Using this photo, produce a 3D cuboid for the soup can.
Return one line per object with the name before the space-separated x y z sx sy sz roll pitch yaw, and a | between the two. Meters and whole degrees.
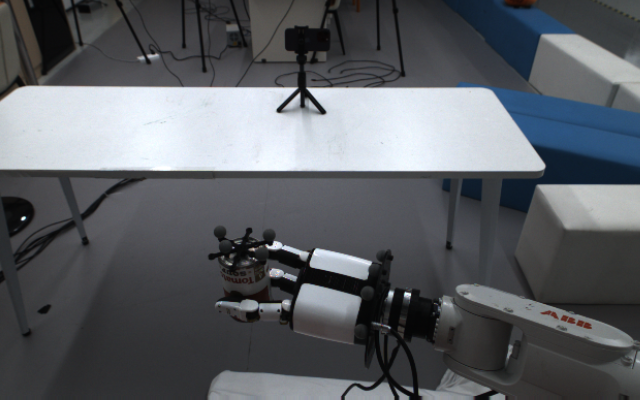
soup can | -0.100 0.111 0.676 0.067 0.101 0.067 -2 33 1
